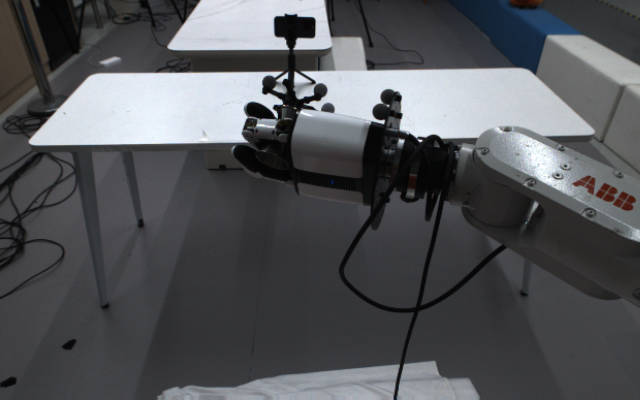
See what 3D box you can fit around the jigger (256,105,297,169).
[{"bbox_3d":[-0.043,-0.076,0.590,0.043,0.043,0.071,13,70,16],"label":"jigger"}]
